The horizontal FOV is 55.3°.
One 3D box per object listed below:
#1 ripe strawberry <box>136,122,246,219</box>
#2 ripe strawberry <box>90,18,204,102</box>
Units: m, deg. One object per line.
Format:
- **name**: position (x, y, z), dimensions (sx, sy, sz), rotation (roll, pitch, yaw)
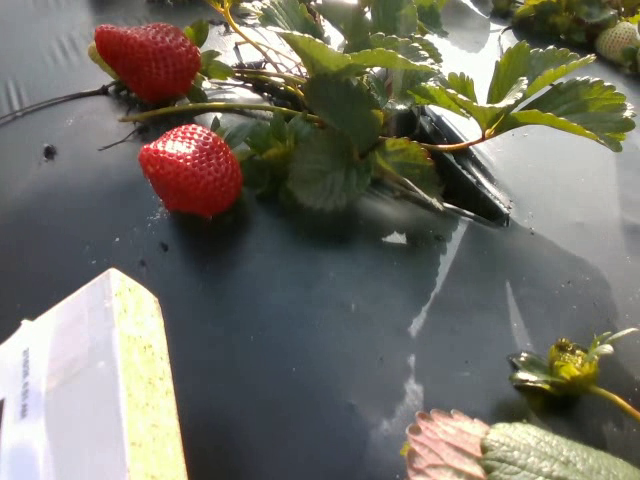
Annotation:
- **ripe strawberry**: position (-0.041, -0.025, 0.177), dimensions (0.037, 0.034, 0.039), rotation (-31, -25, 27)
- **ripe strawberry**: position (-0.063, -0.072, 0.224), dimensions (0.036, 0.041, 0.035), rotation (15, 20, -35)
